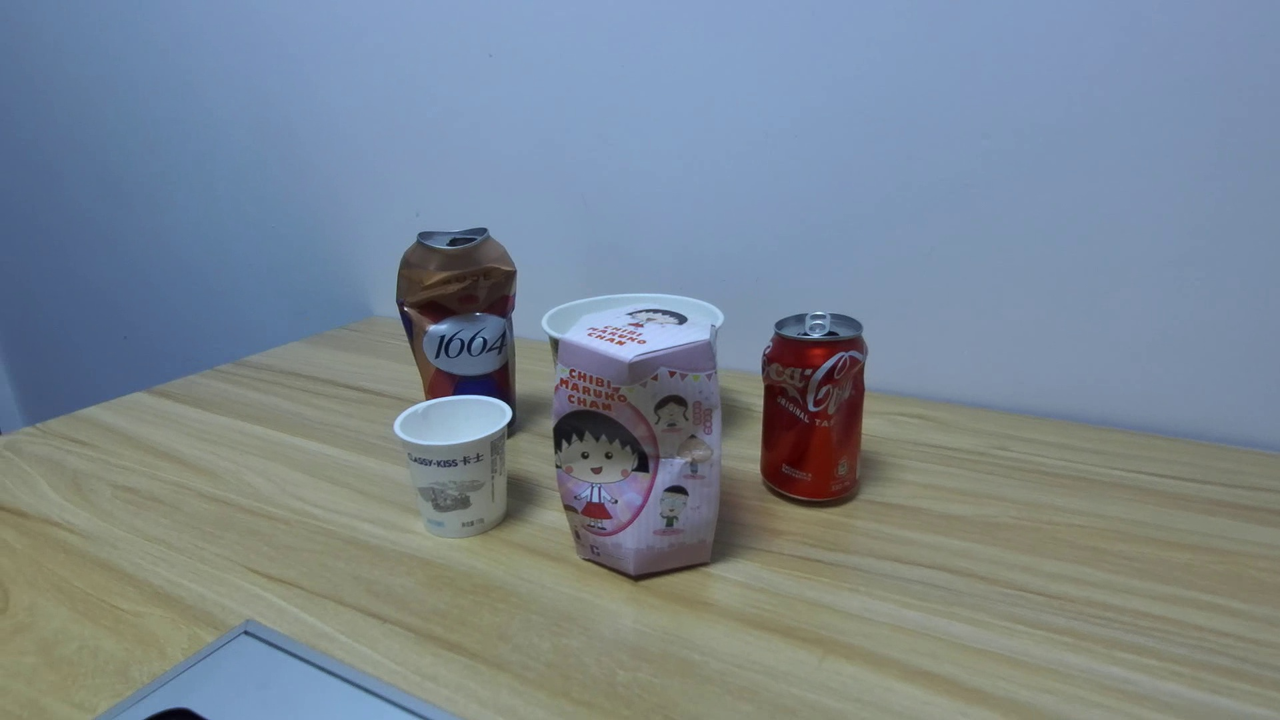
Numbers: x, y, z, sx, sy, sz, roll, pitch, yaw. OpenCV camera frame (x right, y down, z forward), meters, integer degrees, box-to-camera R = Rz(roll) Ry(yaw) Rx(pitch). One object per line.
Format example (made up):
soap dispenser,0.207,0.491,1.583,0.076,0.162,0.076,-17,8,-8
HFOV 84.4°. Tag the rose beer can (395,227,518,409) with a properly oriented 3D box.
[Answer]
rose beer can,-0.135,-0.018,0.545,0.067,0.162,0.074,14,26,38

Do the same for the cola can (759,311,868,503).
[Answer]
cola can,0.113,0.030,0.460,0.066,0.117,0.066,-15,24,-33

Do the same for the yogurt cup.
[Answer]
yogurt cup,-0.112,0.067,0.442,0.072,0.068,0.072,-1,20,1

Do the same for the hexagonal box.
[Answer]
hexagonal box,-0.001,0.043,0.403,0.089,0.134,0.093,0,21,2

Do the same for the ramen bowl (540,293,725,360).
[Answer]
ramen bowl,-0.003,0.008,0.560,0.140,0.095,0.140,-2,19,1
